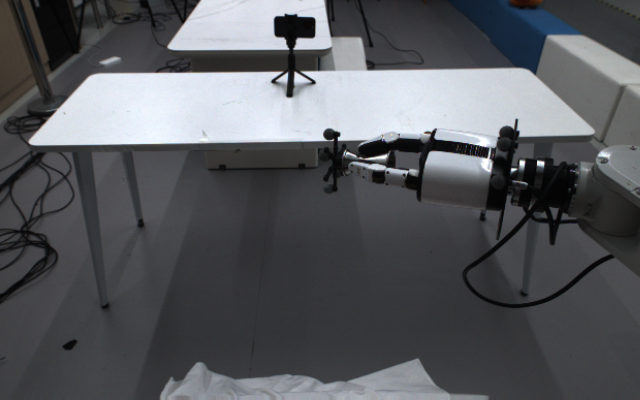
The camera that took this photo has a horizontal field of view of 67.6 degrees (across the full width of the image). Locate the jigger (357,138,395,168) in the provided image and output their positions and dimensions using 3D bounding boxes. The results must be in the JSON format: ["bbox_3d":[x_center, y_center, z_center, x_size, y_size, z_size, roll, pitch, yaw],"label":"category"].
[{"bbox_3d":[0.076,-0.055,0.695,0.071,0.043,0.043,5,34,22],"label":"jigger"}]
